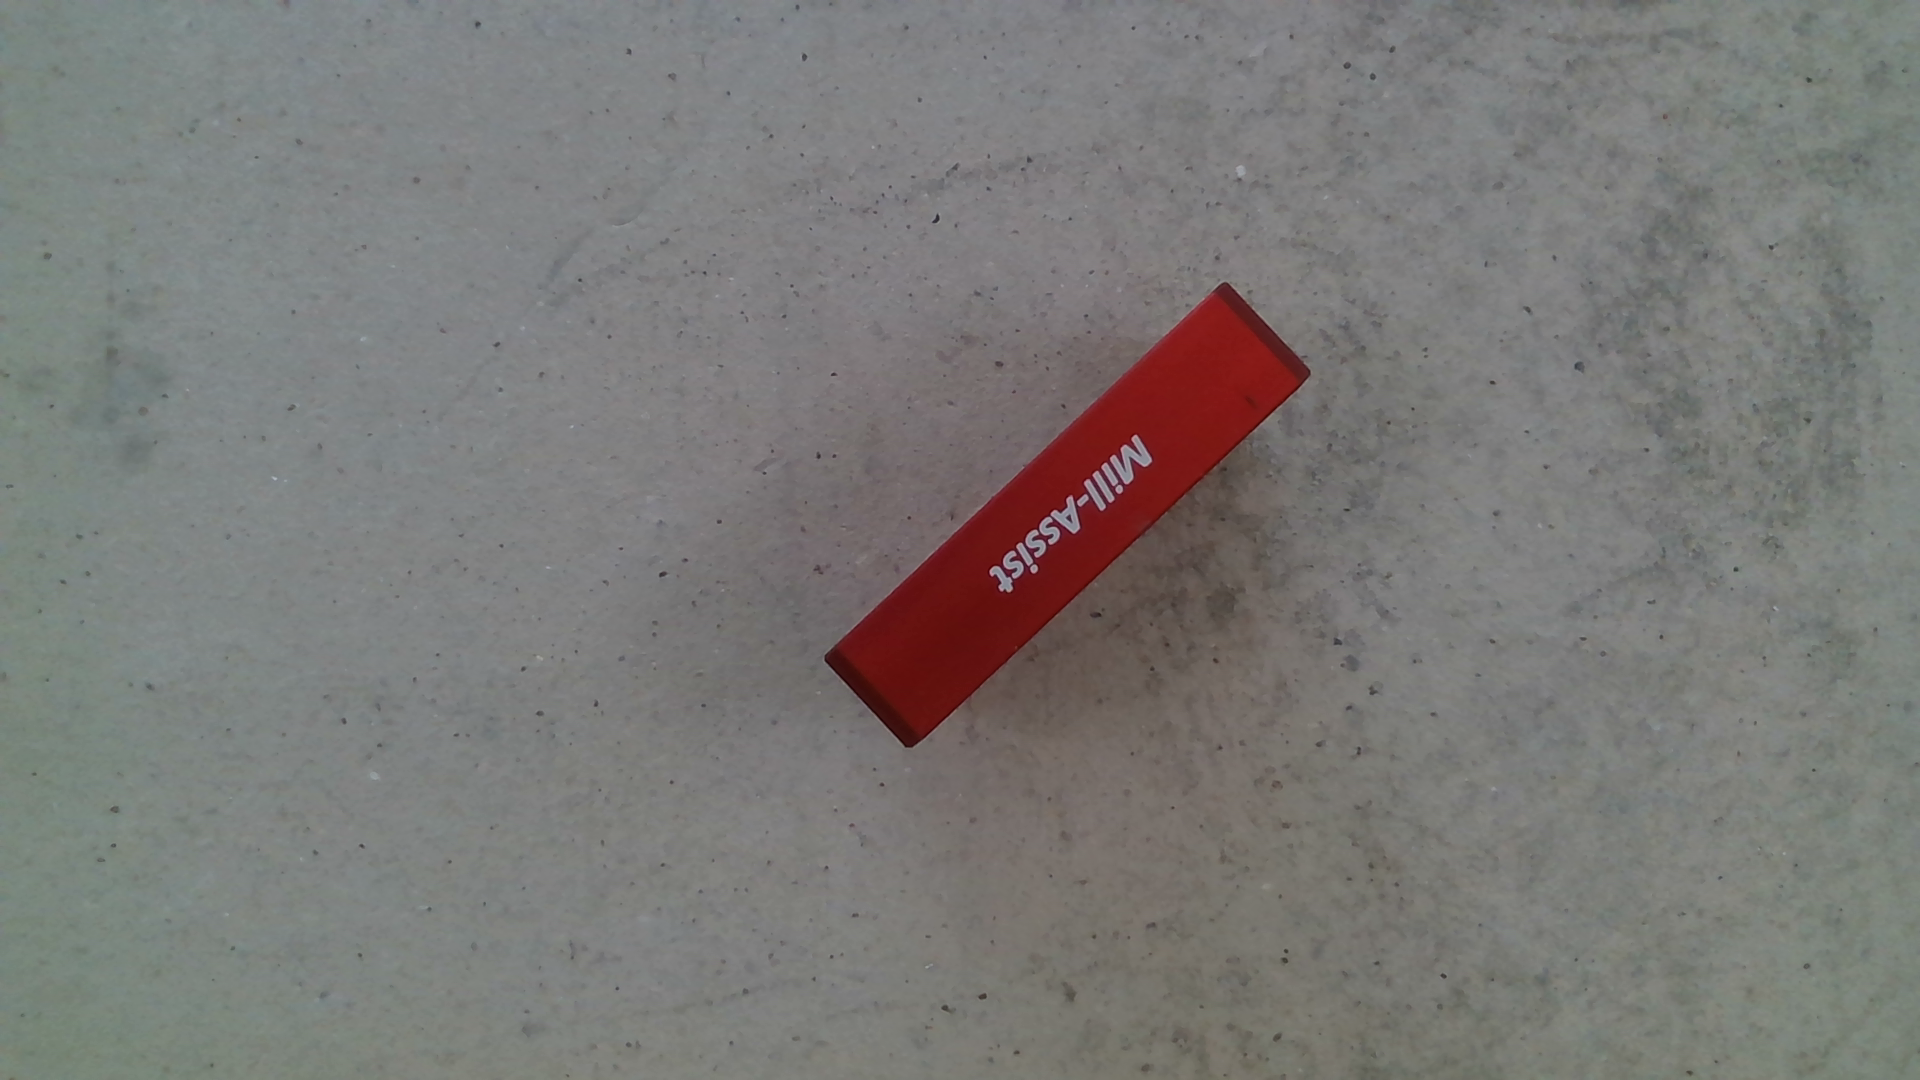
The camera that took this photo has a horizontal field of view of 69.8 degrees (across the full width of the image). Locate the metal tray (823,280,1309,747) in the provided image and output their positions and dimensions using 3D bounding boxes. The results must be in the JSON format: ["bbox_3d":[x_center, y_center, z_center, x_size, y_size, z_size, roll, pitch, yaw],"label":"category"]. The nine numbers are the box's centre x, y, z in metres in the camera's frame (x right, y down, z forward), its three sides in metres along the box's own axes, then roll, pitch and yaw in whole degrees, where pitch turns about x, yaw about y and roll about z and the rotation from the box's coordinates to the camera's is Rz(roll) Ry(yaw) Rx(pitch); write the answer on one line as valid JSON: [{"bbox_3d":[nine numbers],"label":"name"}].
[{"bbox_3d":[0.025,-0.006,0.363,0.130,0.090,0.030,-43,90,0],"label":"metal tray"}]
